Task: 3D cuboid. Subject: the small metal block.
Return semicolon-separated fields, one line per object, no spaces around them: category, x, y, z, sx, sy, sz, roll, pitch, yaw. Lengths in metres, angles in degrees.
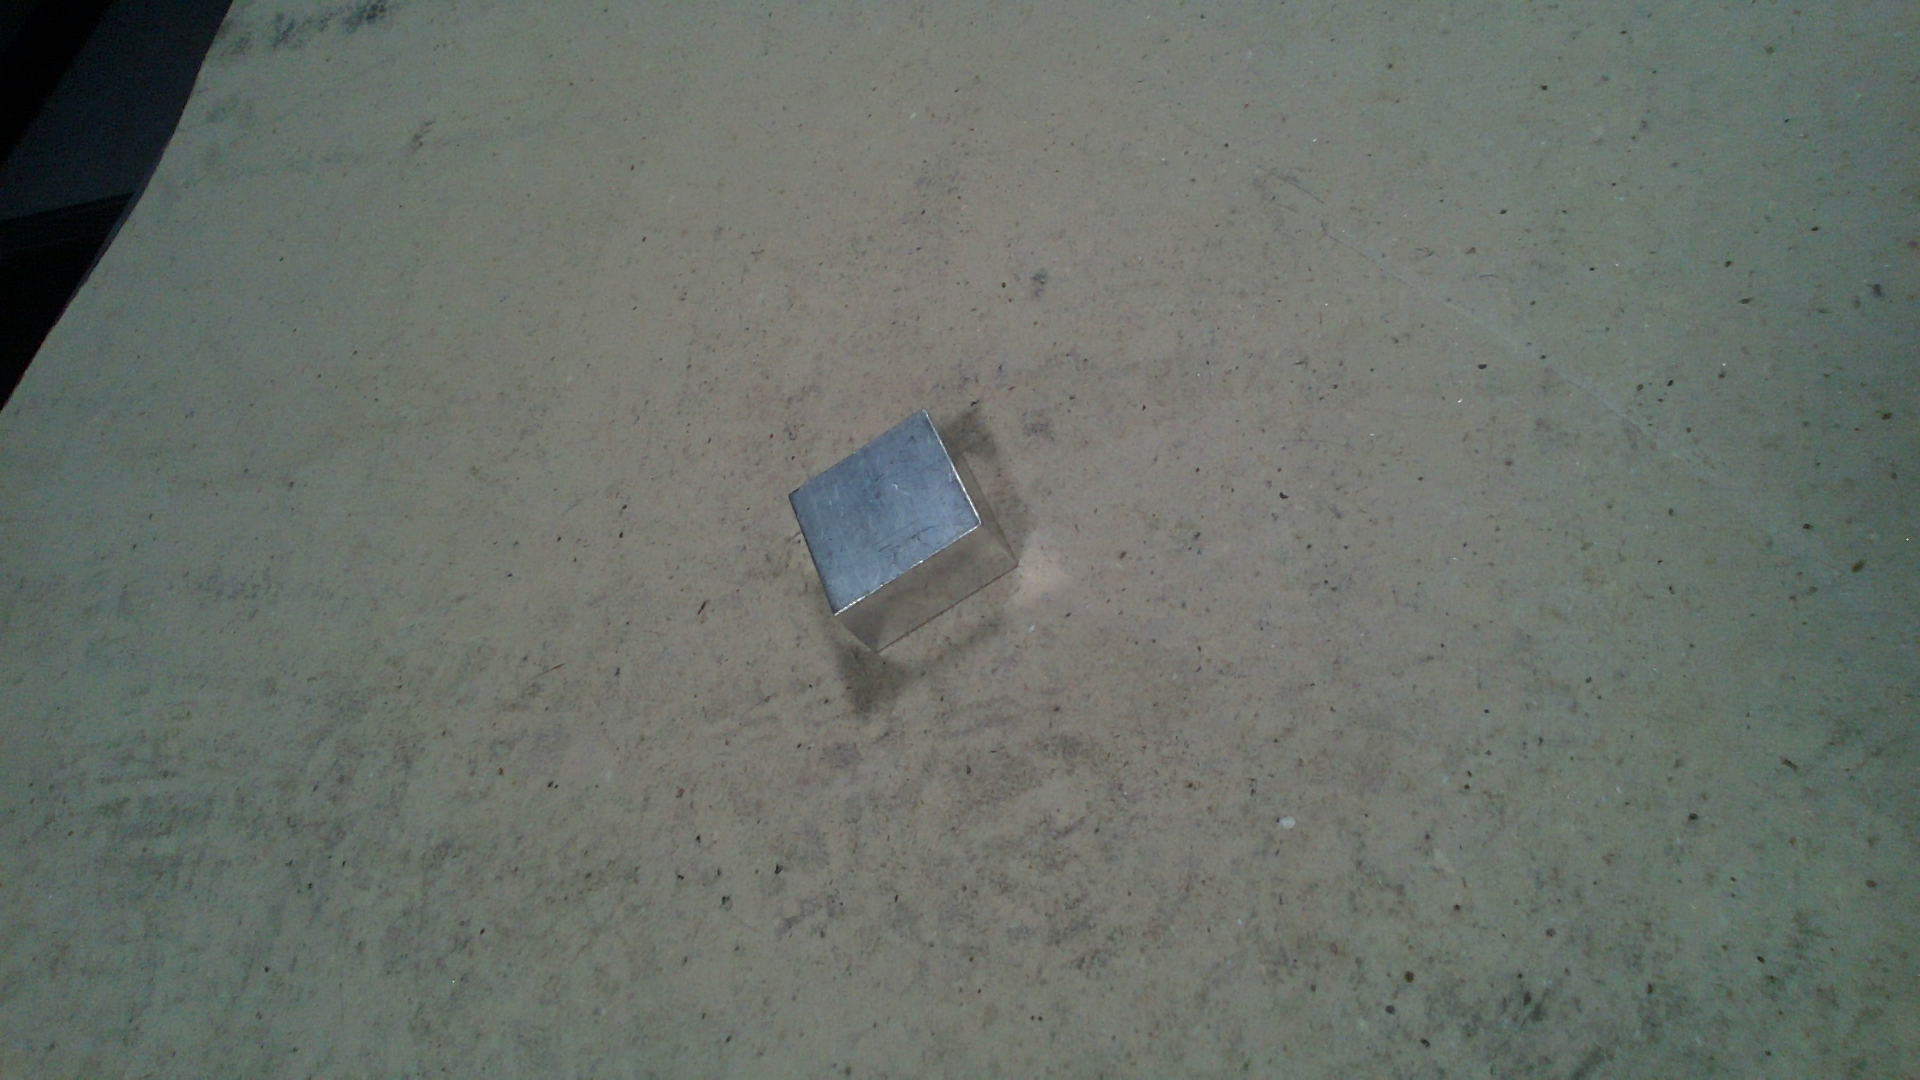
small metal block;-0.018;-0.003;0.406;0.050;0.025;0.050;-32;51;8
